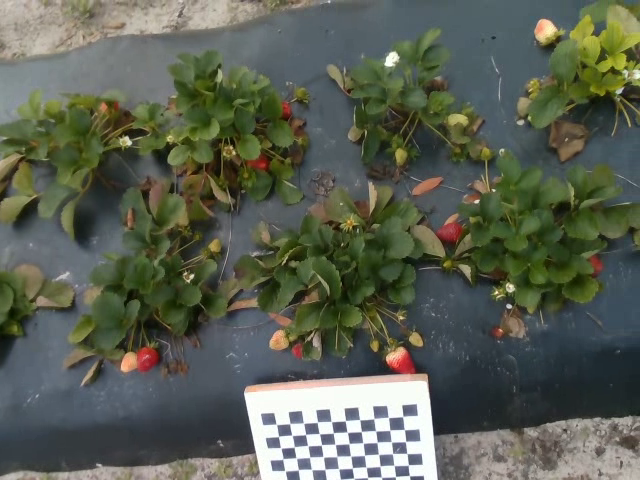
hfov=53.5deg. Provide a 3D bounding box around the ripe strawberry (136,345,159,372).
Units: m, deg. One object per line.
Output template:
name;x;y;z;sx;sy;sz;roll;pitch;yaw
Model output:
ripe strawberry;-0.266;0.183;0.960;0.034;0.042;0.033;24;-40;-2
